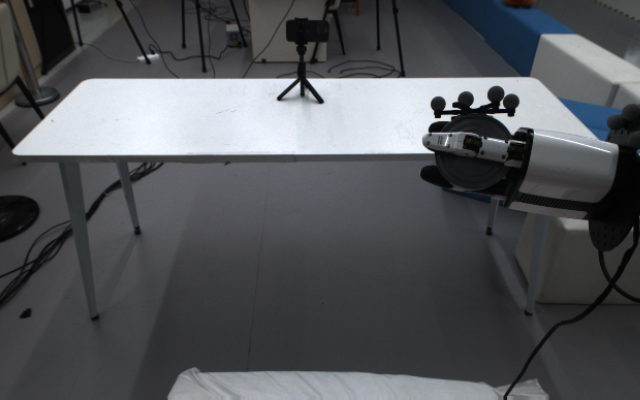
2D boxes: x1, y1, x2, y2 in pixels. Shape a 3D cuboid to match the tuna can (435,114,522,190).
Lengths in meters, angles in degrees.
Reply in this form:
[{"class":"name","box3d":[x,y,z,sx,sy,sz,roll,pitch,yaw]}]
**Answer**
[{"class":"tuna can","box3d":[0.177,-0.057,0.554,0.085,0.085,0.034,14,-2,16]}]
